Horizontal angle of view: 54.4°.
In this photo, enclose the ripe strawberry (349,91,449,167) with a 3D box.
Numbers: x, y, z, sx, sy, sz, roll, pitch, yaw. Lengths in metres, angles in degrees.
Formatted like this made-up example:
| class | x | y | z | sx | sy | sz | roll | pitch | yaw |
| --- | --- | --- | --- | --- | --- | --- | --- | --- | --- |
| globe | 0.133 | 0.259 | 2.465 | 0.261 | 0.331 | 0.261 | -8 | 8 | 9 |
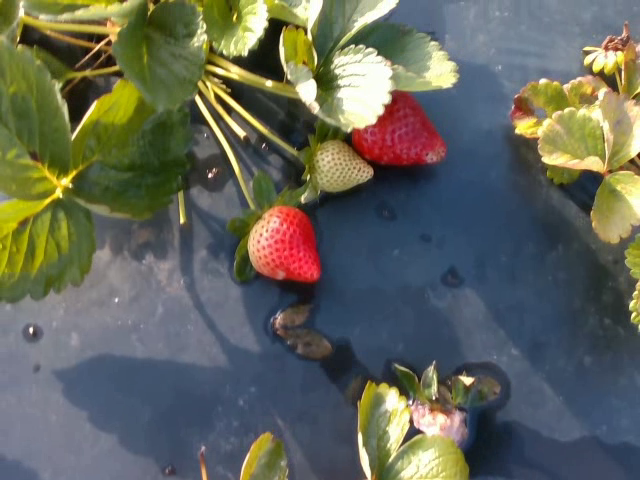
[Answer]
| class | x | y | z | sx | sy | sz | roll | pitch | yaw |
| --- | --- | --- | --- | --- | --- | --- | --- | --- | --- |
| ripe strawberry | 0.049 | -0.061 | 0.361 | 0.064 | 0.049 | 0.050 | 32 | 31 | -3 |
